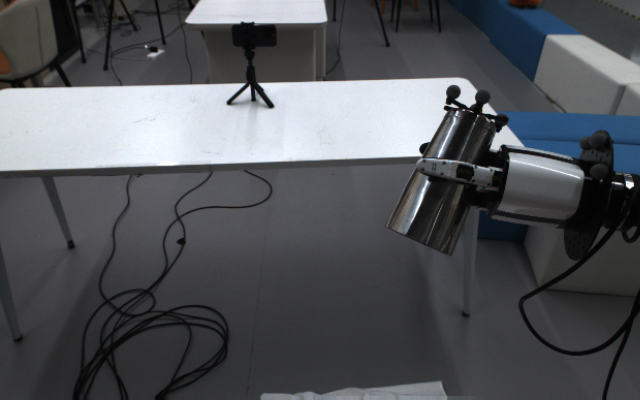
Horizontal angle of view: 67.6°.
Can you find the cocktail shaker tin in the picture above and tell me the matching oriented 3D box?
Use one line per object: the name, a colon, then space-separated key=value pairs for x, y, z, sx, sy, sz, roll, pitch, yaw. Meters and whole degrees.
cocktail shaker tin: x=0.161 y=-0.028 z=0.616 sx=0.093 sy=0.170 sz=0.093 roll=23 pitch=0 yaw=0
